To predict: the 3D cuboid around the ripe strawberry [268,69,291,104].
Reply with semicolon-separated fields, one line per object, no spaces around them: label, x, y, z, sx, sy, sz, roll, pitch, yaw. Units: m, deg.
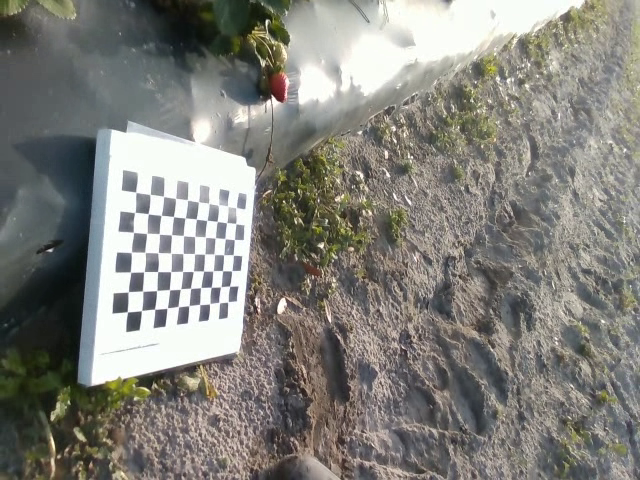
ripe strawberry;-0.057;-0.248;0.987;0.034;0.050;0.047;-1;19;28
